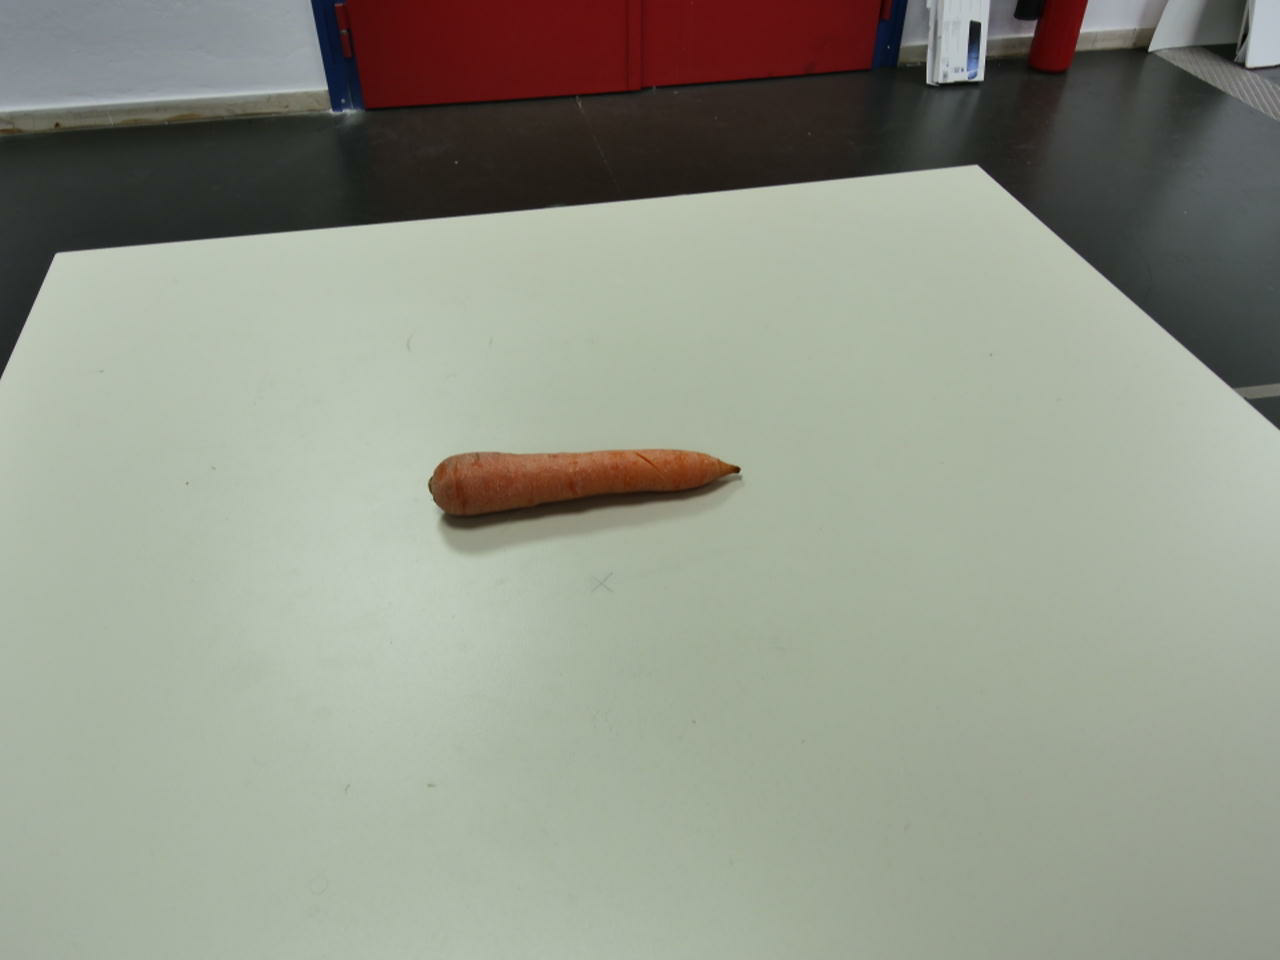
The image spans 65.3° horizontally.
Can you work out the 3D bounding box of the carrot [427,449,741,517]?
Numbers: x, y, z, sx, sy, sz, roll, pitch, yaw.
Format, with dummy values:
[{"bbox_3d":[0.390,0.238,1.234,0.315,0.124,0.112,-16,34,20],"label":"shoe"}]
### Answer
[{"bbox_3d":[-0.030,-0.007,0.621,0.196,0.041,0.039,-7,40,-9],"label":"carrot"}]
